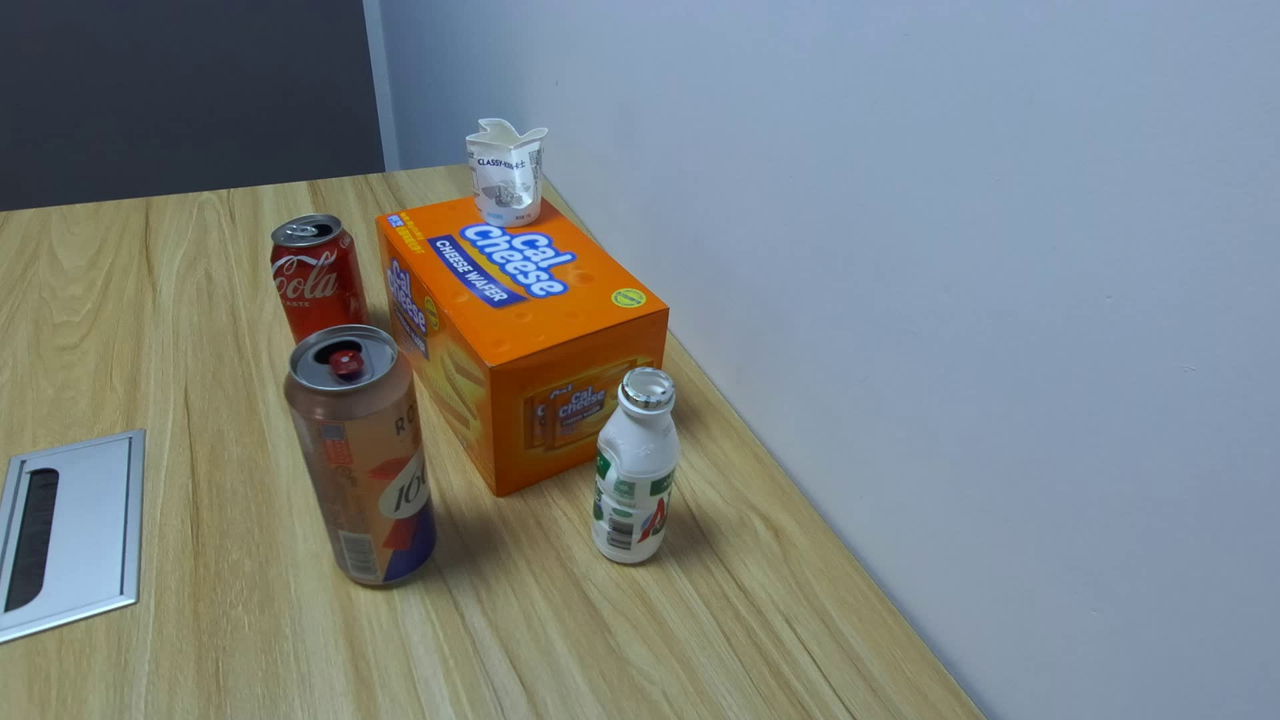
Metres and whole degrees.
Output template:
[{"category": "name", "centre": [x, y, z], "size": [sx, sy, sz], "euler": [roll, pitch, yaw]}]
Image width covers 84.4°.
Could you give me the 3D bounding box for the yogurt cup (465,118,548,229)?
[{"category": "yogurt cup", "centre": [-0.108, -0.154, 0.579], "size": [0.055, 0.072, 0.055], "euler": [13, 38, 8]}]

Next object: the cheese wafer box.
[{"category": "cheese wafer box", "centre": [-0.098, -0.029, 0.584], "size": [0.149, 0.129, 0.221], "euler": [-21, 47, -26]}]

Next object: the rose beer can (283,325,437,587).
[{"category": "rose beer can", "centre": [-0.164, 0.063, 0.428], "size": [0.069, 0.169, 0.068], "euler": [3, 39, -2]}]

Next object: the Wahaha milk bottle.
[{"category": "Wahaha milk bottle", "centre": [-0.003, 0.075, 0.462], "size": [0.053, 0.137, 0.053], "euler": [4, 39, -3]}]

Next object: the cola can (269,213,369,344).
[{"category": "cola can", "centre": [-0.273, -0.062, 0.607], "size": [0.065, 0.117, 0.072], "euler": [16, 41, 8]}]
